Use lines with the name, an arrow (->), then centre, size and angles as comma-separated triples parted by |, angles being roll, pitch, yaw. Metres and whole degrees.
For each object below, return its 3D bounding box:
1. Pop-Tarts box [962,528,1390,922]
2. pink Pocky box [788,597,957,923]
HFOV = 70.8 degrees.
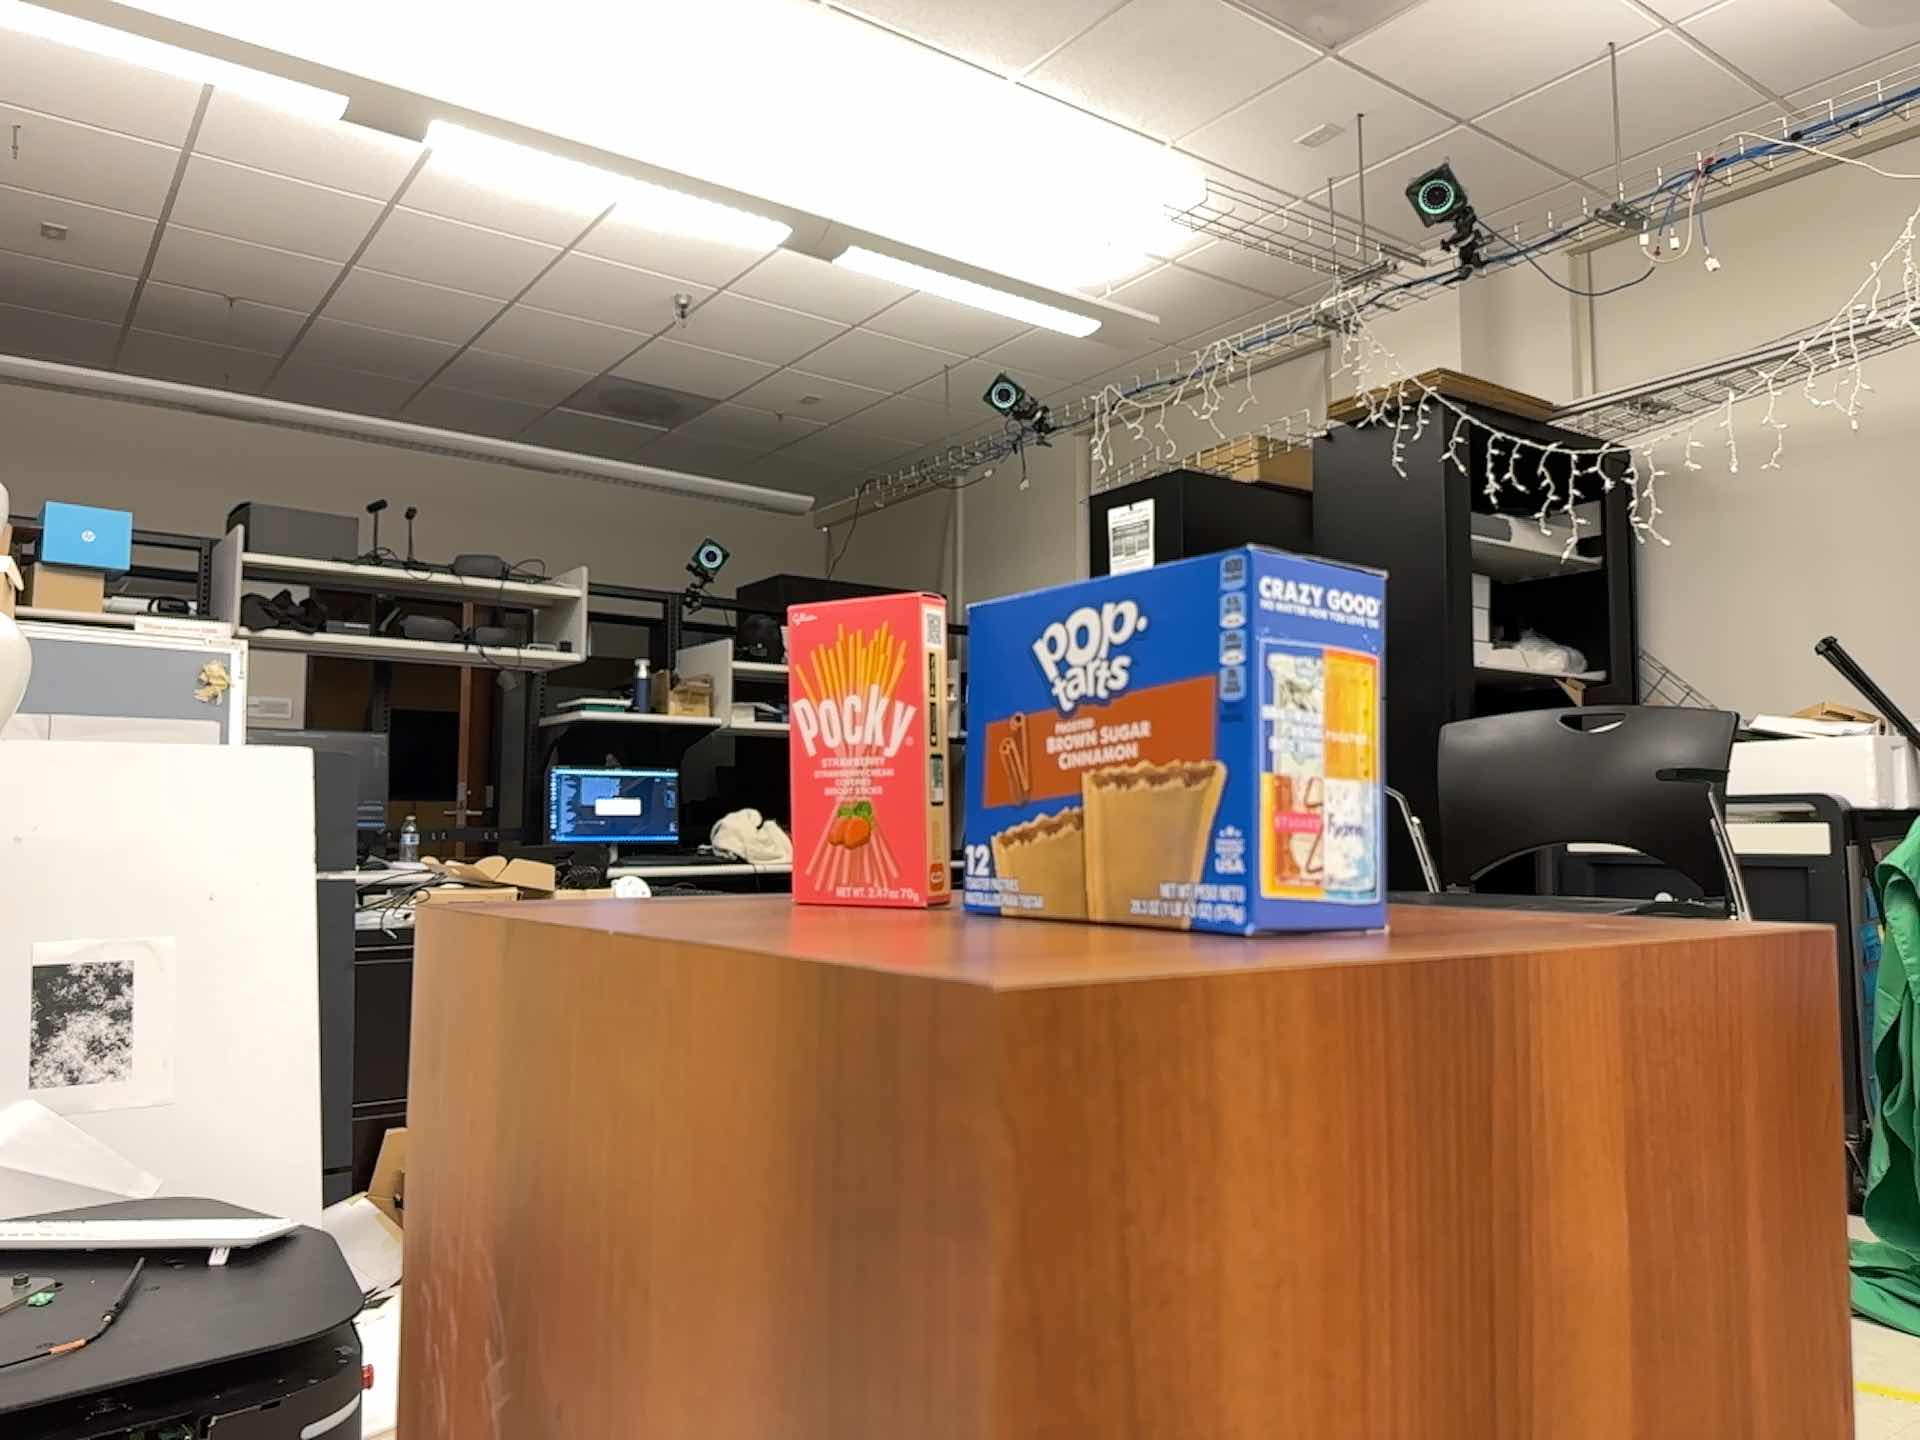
Pop-Tarts box -> 0.082, 0.010, 0.557 | 0.075, 0.135, 0.161 | 7, -8, -36
pink Pocky box -> -0.044, 0.021, 0.664 | 0.084, 0.155, 0.029 | -4, -7, 32
